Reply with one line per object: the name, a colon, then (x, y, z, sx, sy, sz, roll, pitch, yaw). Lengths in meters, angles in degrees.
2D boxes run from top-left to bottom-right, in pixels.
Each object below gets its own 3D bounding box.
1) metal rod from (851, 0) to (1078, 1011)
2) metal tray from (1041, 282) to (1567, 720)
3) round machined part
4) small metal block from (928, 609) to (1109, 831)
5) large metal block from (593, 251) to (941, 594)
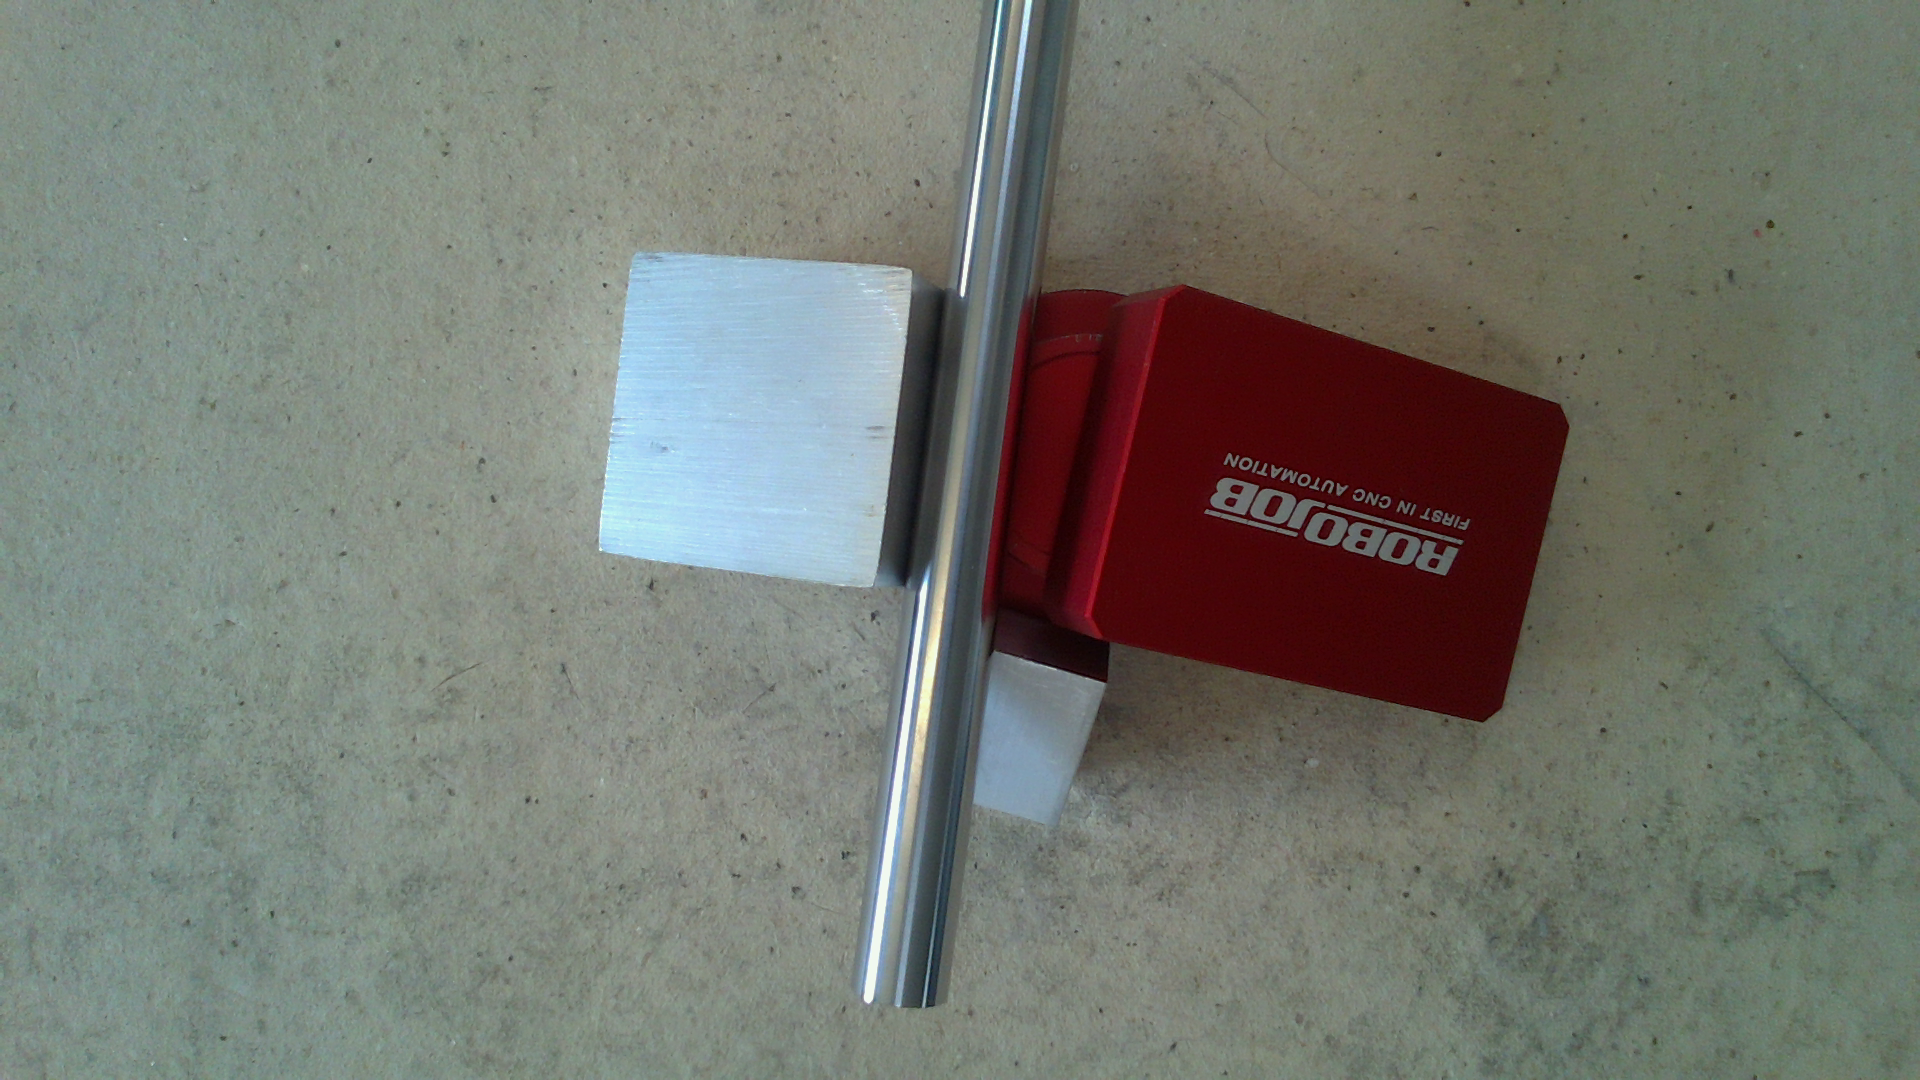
metal rod: (0.004, -0.033, 0.353, 0.025, 0.025, 0.300, 8, 88, 0)
metal tray: (0.095, -0.008, 0.371, 0.130, 0.030, 0.090, 13, 91, -21)
round machined part: (0.035, -0.022, 0.387, 0.098, 0.042, 0.098, 0, 90, 0)
small metal block: (0.010, 0.048, 0.386, 0.050, 0.025, 0.050, 16, 116, 0)
large metal block: (-0.046, -0.030, 0.372, 0.080, 0.050, 0.080, 7, 90, 18)
